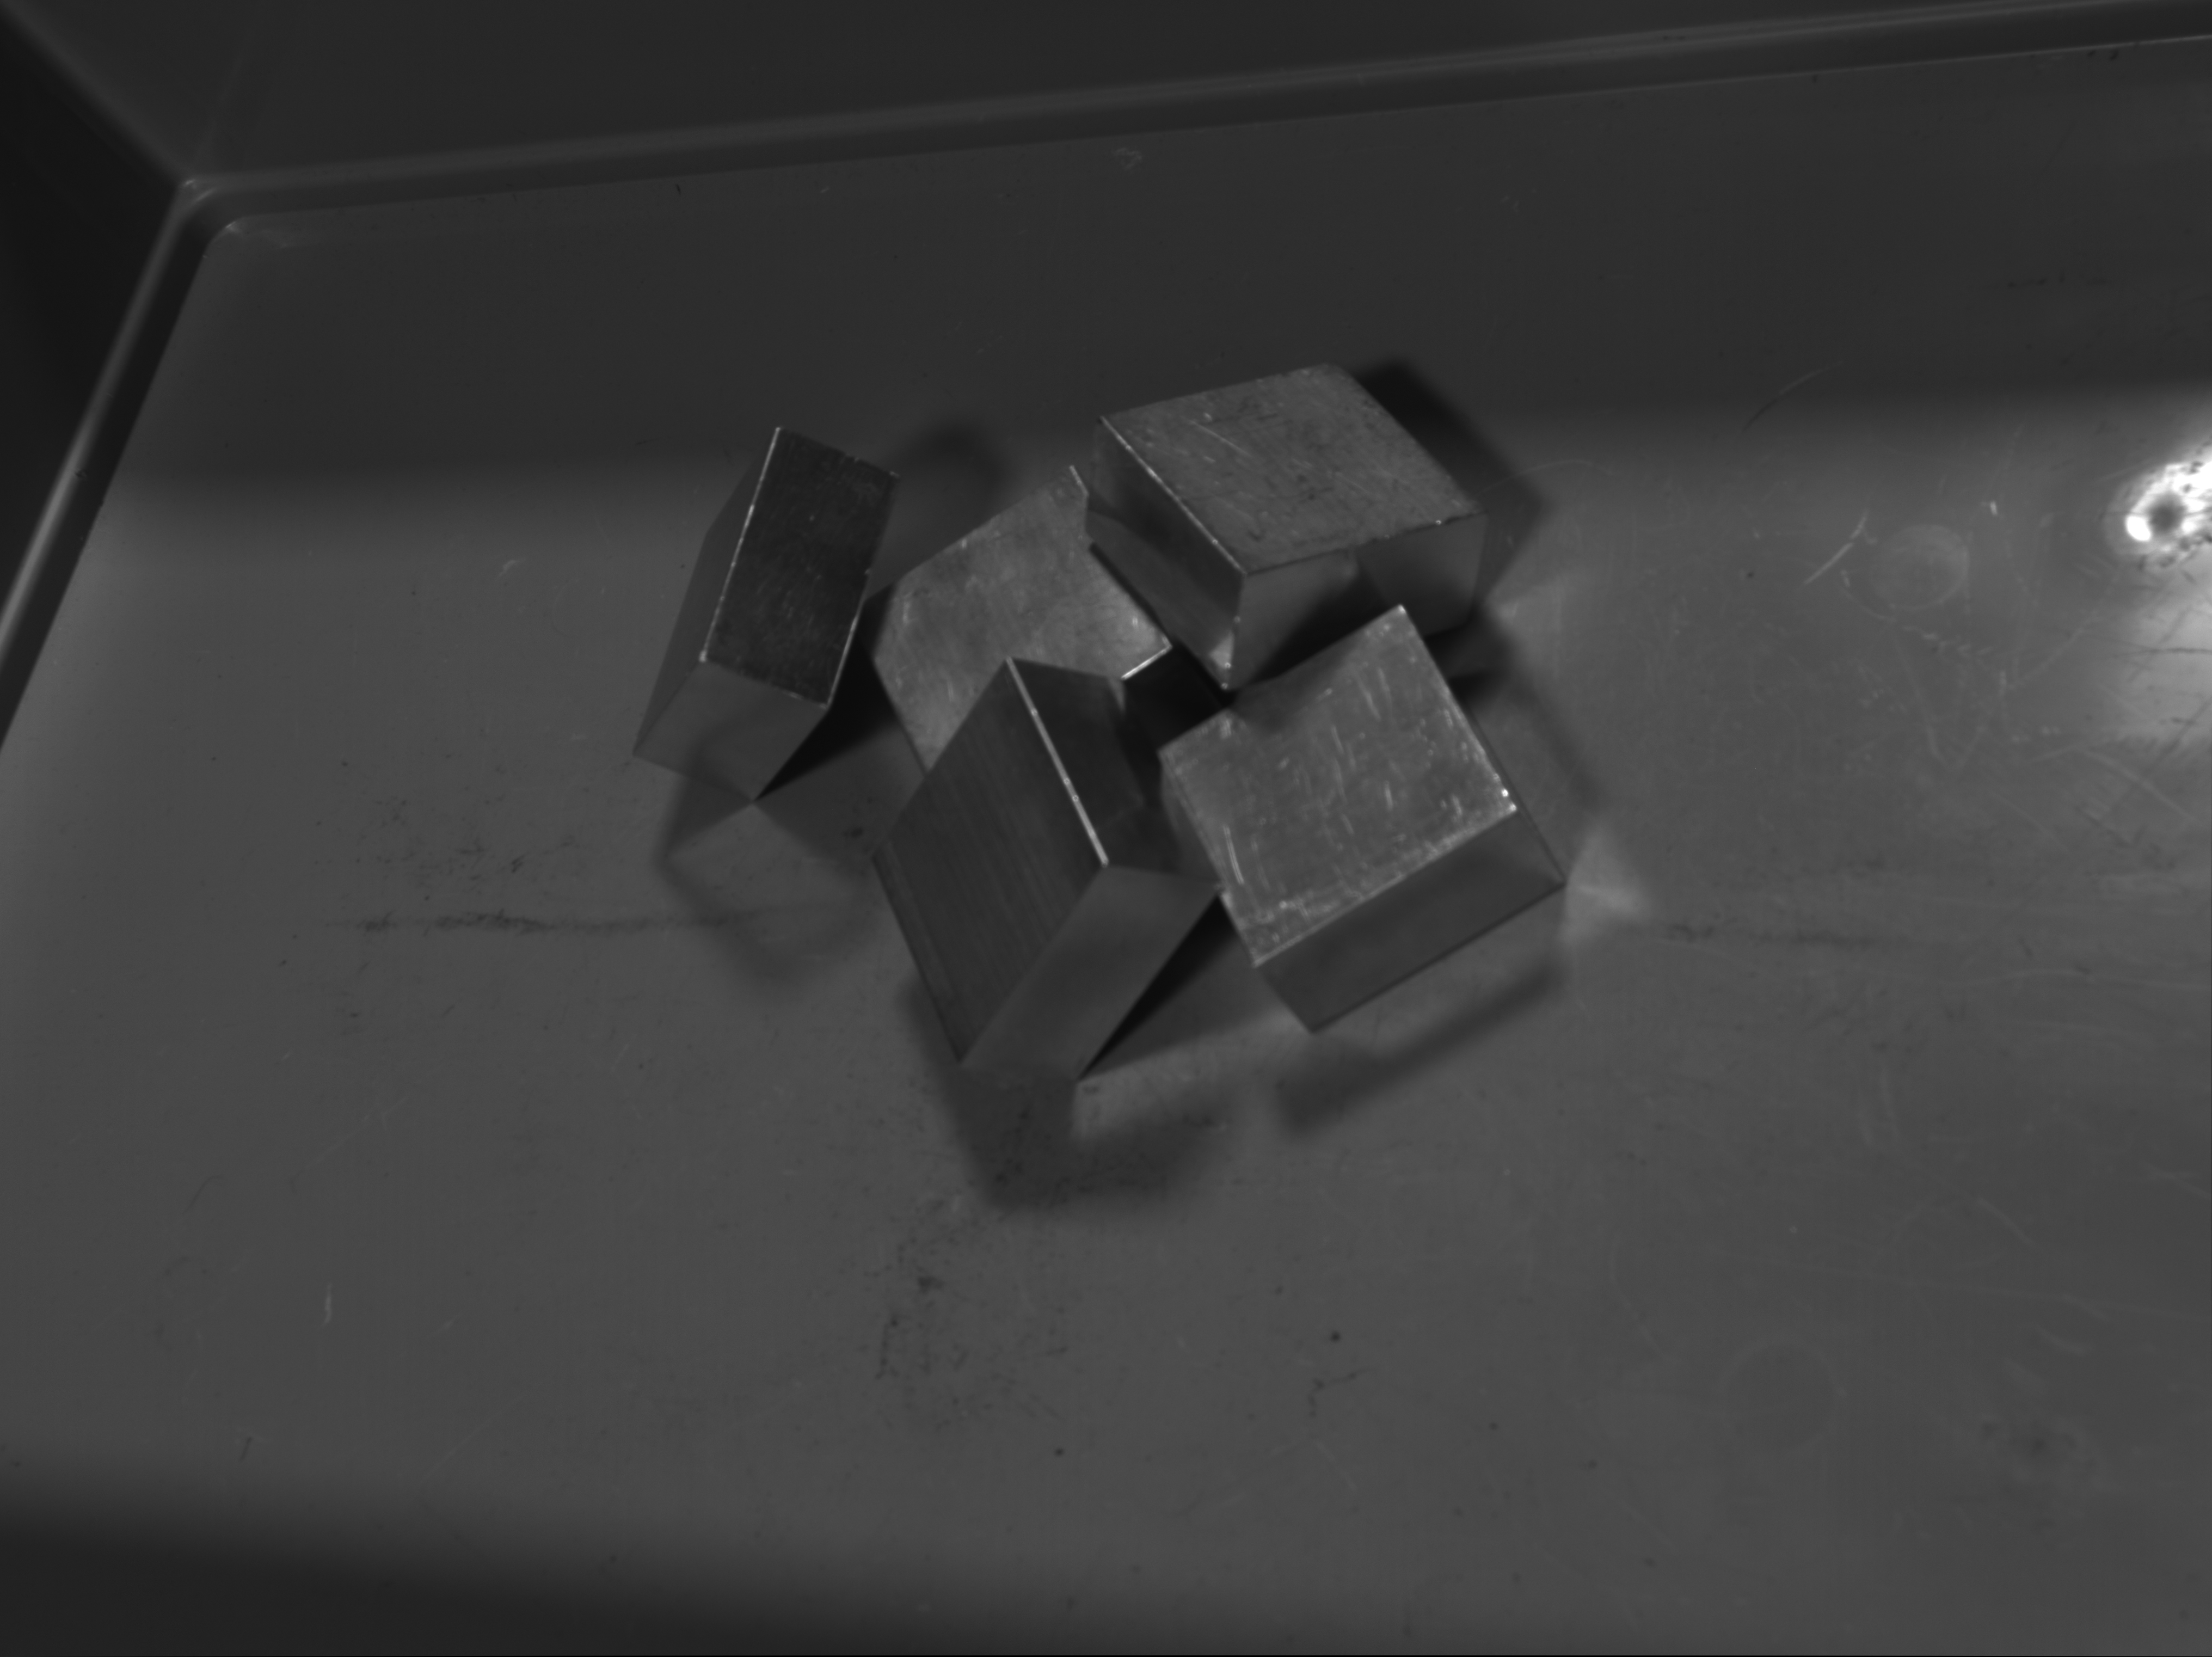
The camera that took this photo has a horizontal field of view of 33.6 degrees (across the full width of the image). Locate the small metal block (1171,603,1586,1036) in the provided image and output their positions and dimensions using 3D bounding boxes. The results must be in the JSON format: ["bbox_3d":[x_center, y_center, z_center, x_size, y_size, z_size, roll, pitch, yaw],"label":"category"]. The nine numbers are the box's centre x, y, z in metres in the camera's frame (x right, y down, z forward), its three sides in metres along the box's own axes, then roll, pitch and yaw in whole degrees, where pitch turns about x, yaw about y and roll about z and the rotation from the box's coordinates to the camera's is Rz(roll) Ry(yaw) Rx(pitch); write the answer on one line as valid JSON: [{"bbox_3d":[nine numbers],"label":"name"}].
[{"bbox_3d":[0.045,-0.002,0.619,0.050,0.025,0.050,-31,51,8],"label":"small metal block"}]

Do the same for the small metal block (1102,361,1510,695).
[{"bbox_3d":[0.034,-0.054,0.642,0.050,0.025,0.050,-16,46,-25],"label":"small metal block"}]

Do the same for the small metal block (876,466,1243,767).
[{"bbox_3d":[-0.009,-0.029,0.666,0.050,0.025,0.050,-33,51,7],"label":"small metal block"}]

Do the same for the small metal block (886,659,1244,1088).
[{"bbox_3d":[-0.008,0.008,0.627,0.050,0.025,0.050,-55,43,31],"label":"small metal block"}]

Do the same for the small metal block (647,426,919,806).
[{"bbox_3d":[-0.060,-0.039,0.682,0.050,0.025,0.050,137,152,-61],"label":"small metal block"}]
